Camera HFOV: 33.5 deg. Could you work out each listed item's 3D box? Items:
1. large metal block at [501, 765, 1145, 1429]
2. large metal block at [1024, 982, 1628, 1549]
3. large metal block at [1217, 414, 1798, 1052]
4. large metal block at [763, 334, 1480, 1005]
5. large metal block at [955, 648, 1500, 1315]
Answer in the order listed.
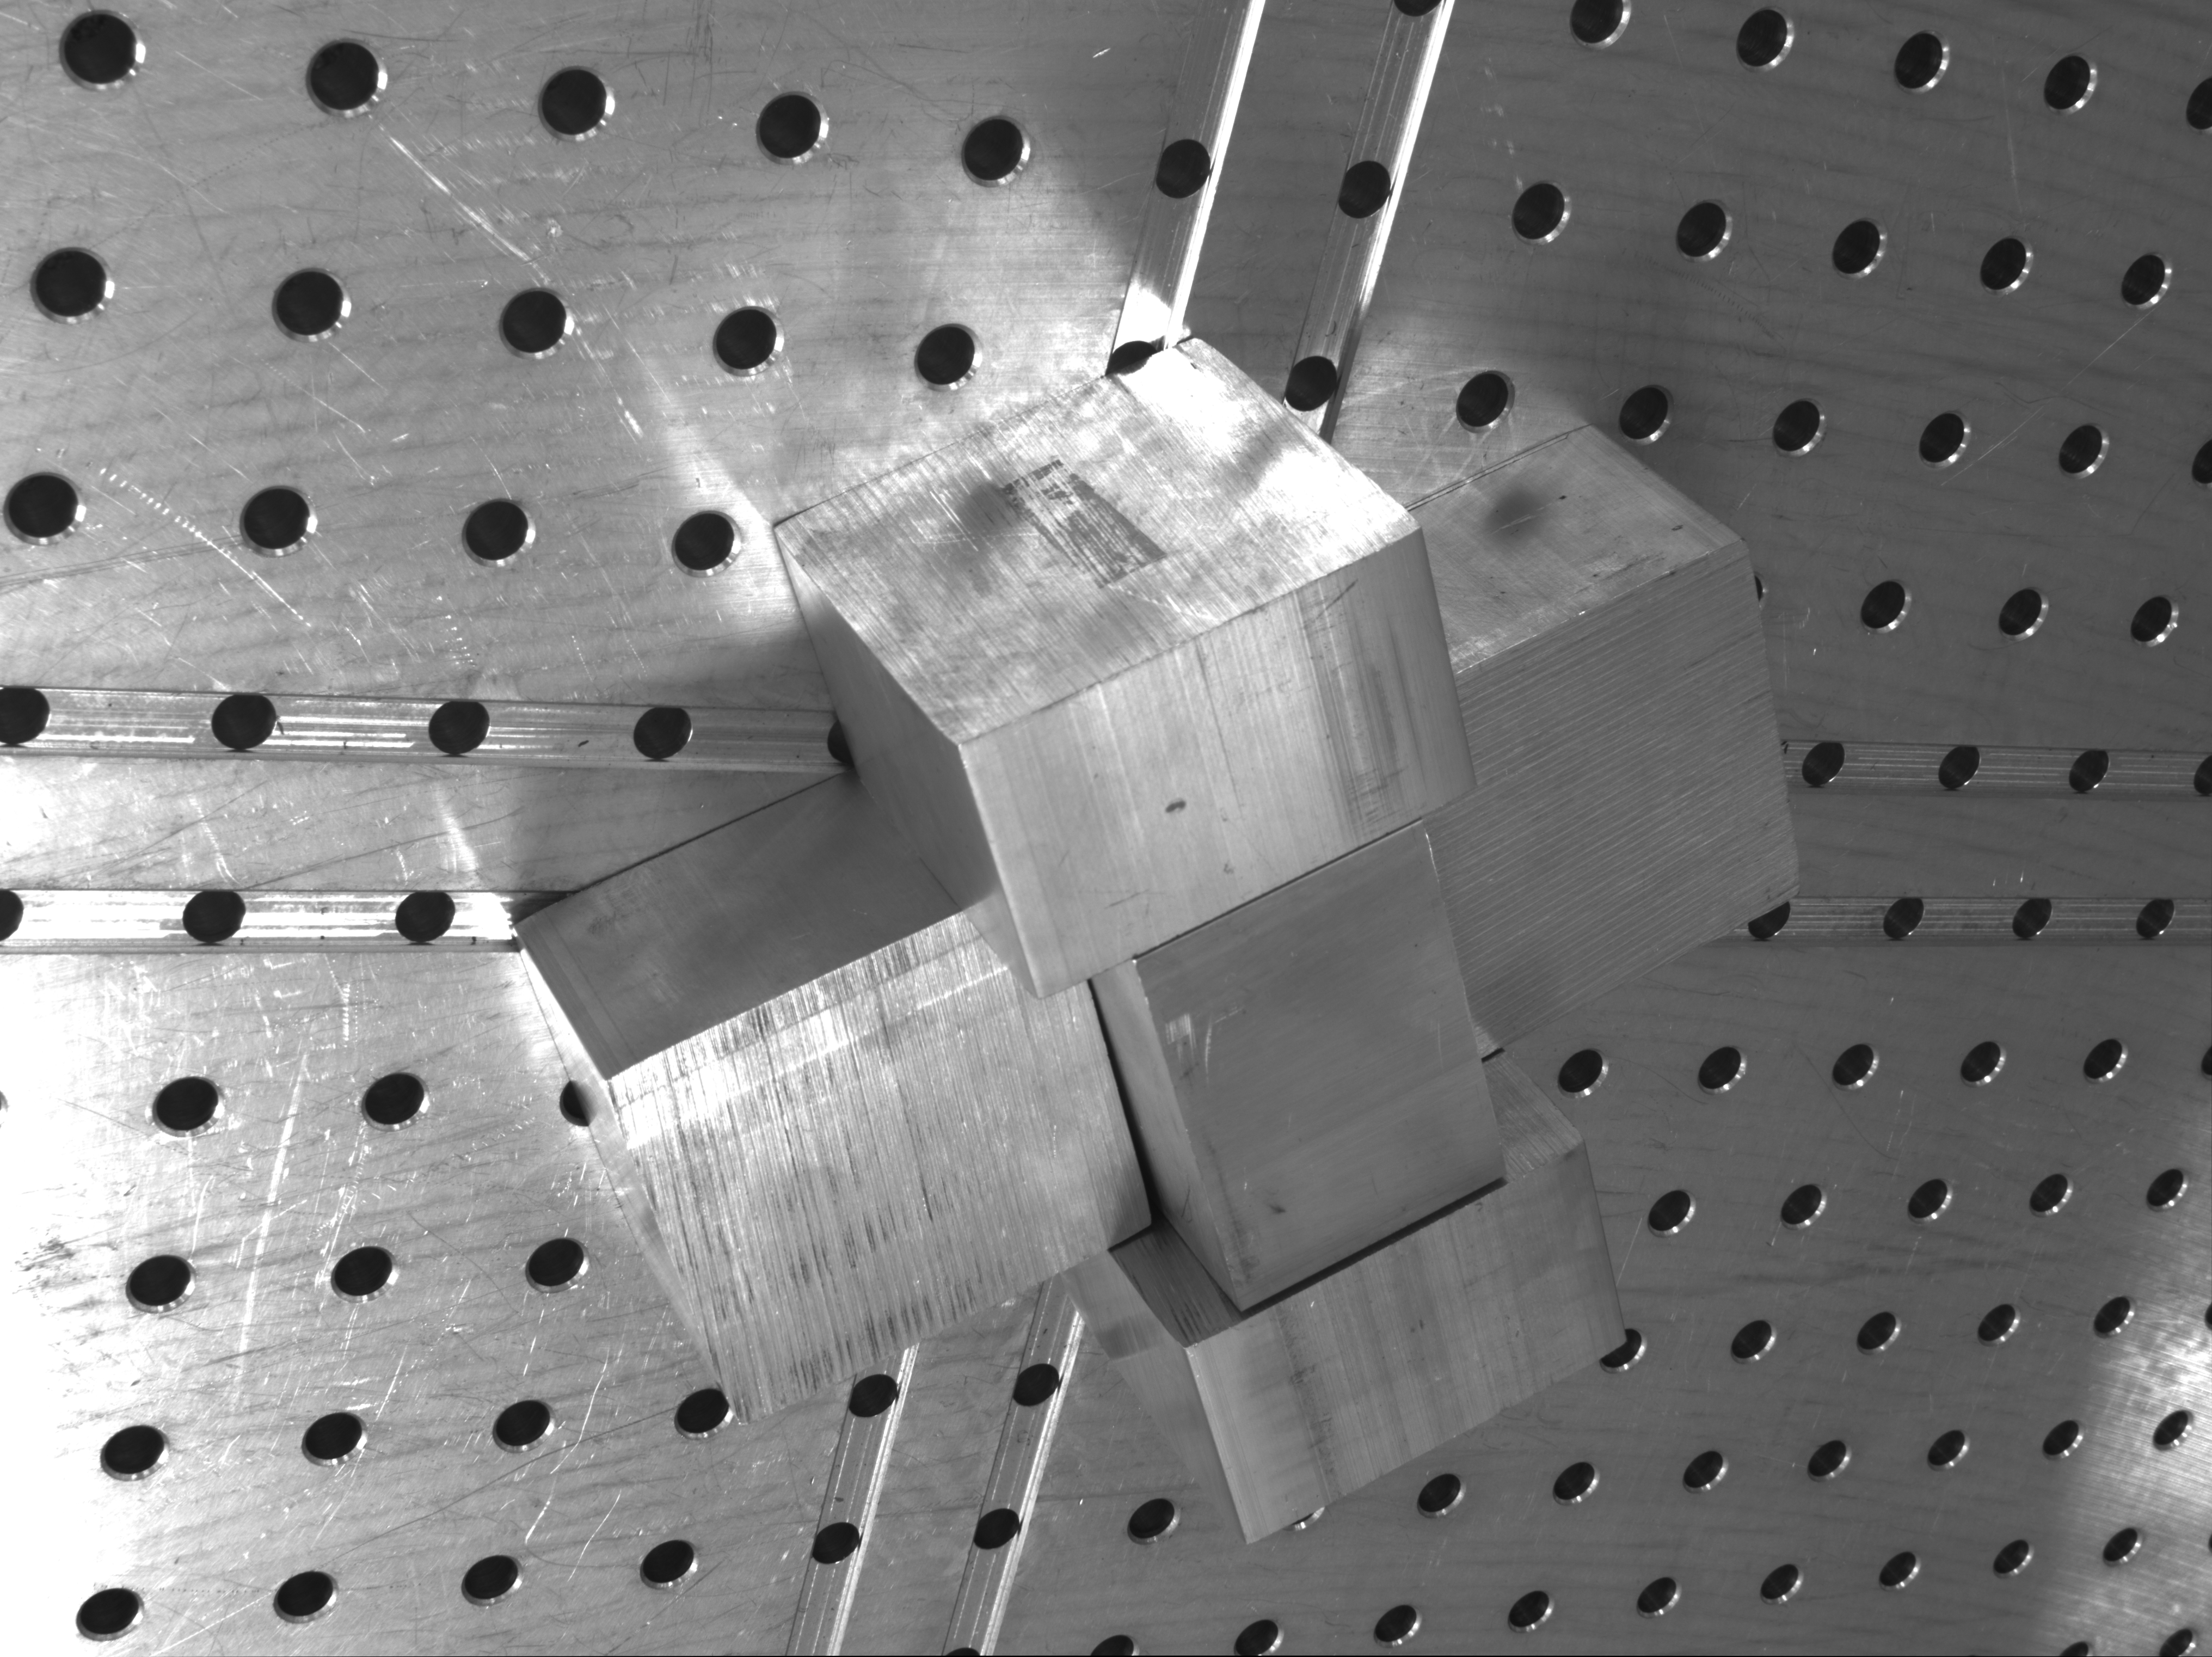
[{"bbox_3d":[-0.047,0.042,0.626,0.080,0.050,0.080,-24,126,-14],"label":"large metal block"},{"bbox_3d":[0.036,0.071,0.668,0.080,0.080,0.050,-26,127,-13],"label":"large metal block"},{"bbox_3d":[0.071,-0.014,0.653,0.080,0.050,0.080,-26,129,-12],"label":"large metal block"},{"bbox_3d":[0.002,-0.028,0.589,0.080,0.080,0.050,-25,127,-12],"label":"large metal block"},{"bbox_3d":[0.019,0.021,0.629,0.050,0.080,0.080,-26,127,-12],"label":"large metal block"}]
